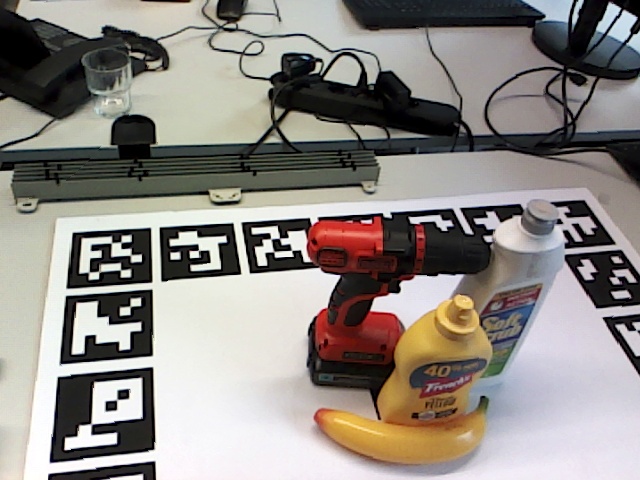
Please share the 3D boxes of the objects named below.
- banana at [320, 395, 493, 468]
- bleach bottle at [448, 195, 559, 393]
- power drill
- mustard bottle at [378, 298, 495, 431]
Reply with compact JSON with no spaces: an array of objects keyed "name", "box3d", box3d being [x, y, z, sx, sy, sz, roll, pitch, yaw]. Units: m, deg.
[{"name":"banana","box3d":[0.099,0.206,0.660,0.197,0.039,0.074,-1,47,-6]},{"name":"bleach bottle","box3d":[0.183,0.062,0.660,0.102,0.250,0.068,-1,40,-10]},{"name":"power drill","box3d":[0.072,0.061,0.650,0.184,0.187,0.057,6,44,-4]},{"name":"mustard bottle","box3d":[0.123,0.124,0.623,0.096,0.191,0.059,-3,46,-12]}]
